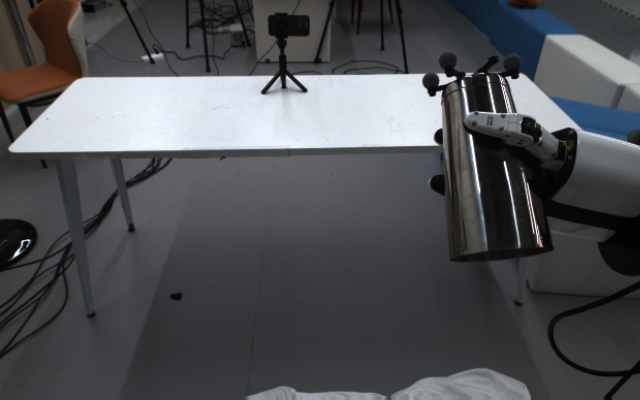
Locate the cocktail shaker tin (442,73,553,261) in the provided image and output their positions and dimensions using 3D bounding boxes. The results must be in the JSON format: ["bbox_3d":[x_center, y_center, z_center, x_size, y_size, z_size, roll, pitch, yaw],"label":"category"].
[{"bbox_3d":[0.164,-0.030,0.471,0.093,0.093,0.170,-3,76,-8],"label":"cocktail shaker tin"}]
